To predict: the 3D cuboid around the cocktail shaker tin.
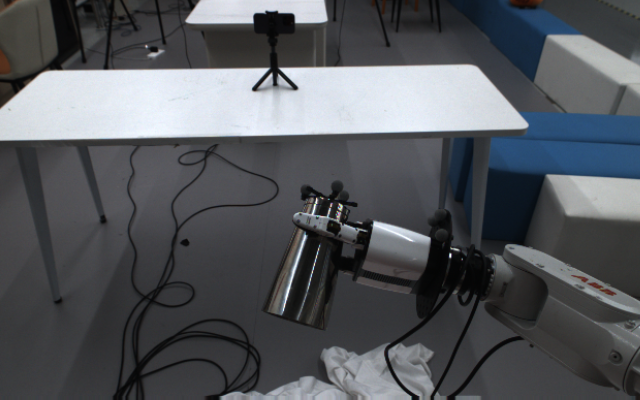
[{"bbox_3d":[-0.011,0.084,0.680,0.093,0.093,0.170,12,72,14],"label":"cocktail shaker tin"}]
